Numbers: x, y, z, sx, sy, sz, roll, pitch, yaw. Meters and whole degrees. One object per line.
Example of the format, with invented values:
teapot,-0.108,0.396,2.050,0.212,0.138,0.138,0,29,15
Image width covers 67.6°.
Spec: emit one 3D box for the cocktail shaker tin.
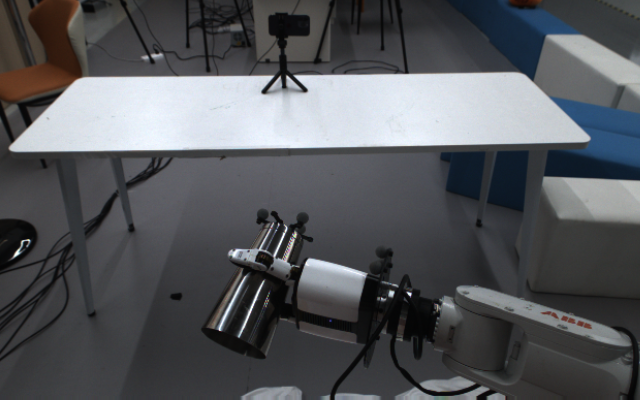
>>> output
cocktail shaker tin,-0.084,0.117,0.663,0.093,0.093,0.170,14,58,16
